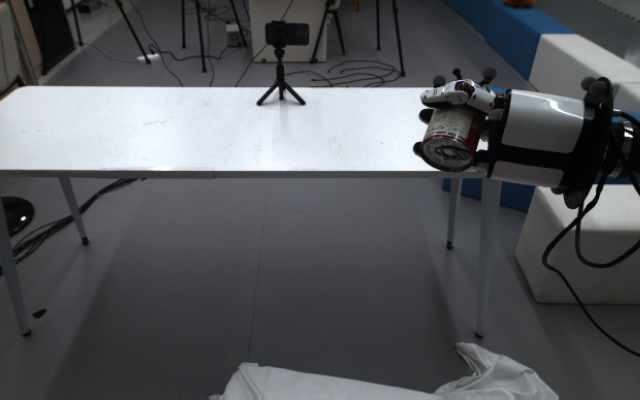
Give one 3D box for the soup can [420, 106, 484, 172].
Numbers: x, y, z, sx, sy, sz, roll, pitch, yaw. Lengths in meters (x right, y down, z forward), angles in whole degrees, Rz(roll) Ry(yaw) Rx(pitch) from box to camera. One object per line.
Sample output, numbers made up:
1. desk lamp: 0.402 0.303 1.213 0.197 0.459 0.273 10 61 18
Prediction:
1. soup can: 0.174 -0.099 0.622 0.067 0.067 0.101 15 63 18
